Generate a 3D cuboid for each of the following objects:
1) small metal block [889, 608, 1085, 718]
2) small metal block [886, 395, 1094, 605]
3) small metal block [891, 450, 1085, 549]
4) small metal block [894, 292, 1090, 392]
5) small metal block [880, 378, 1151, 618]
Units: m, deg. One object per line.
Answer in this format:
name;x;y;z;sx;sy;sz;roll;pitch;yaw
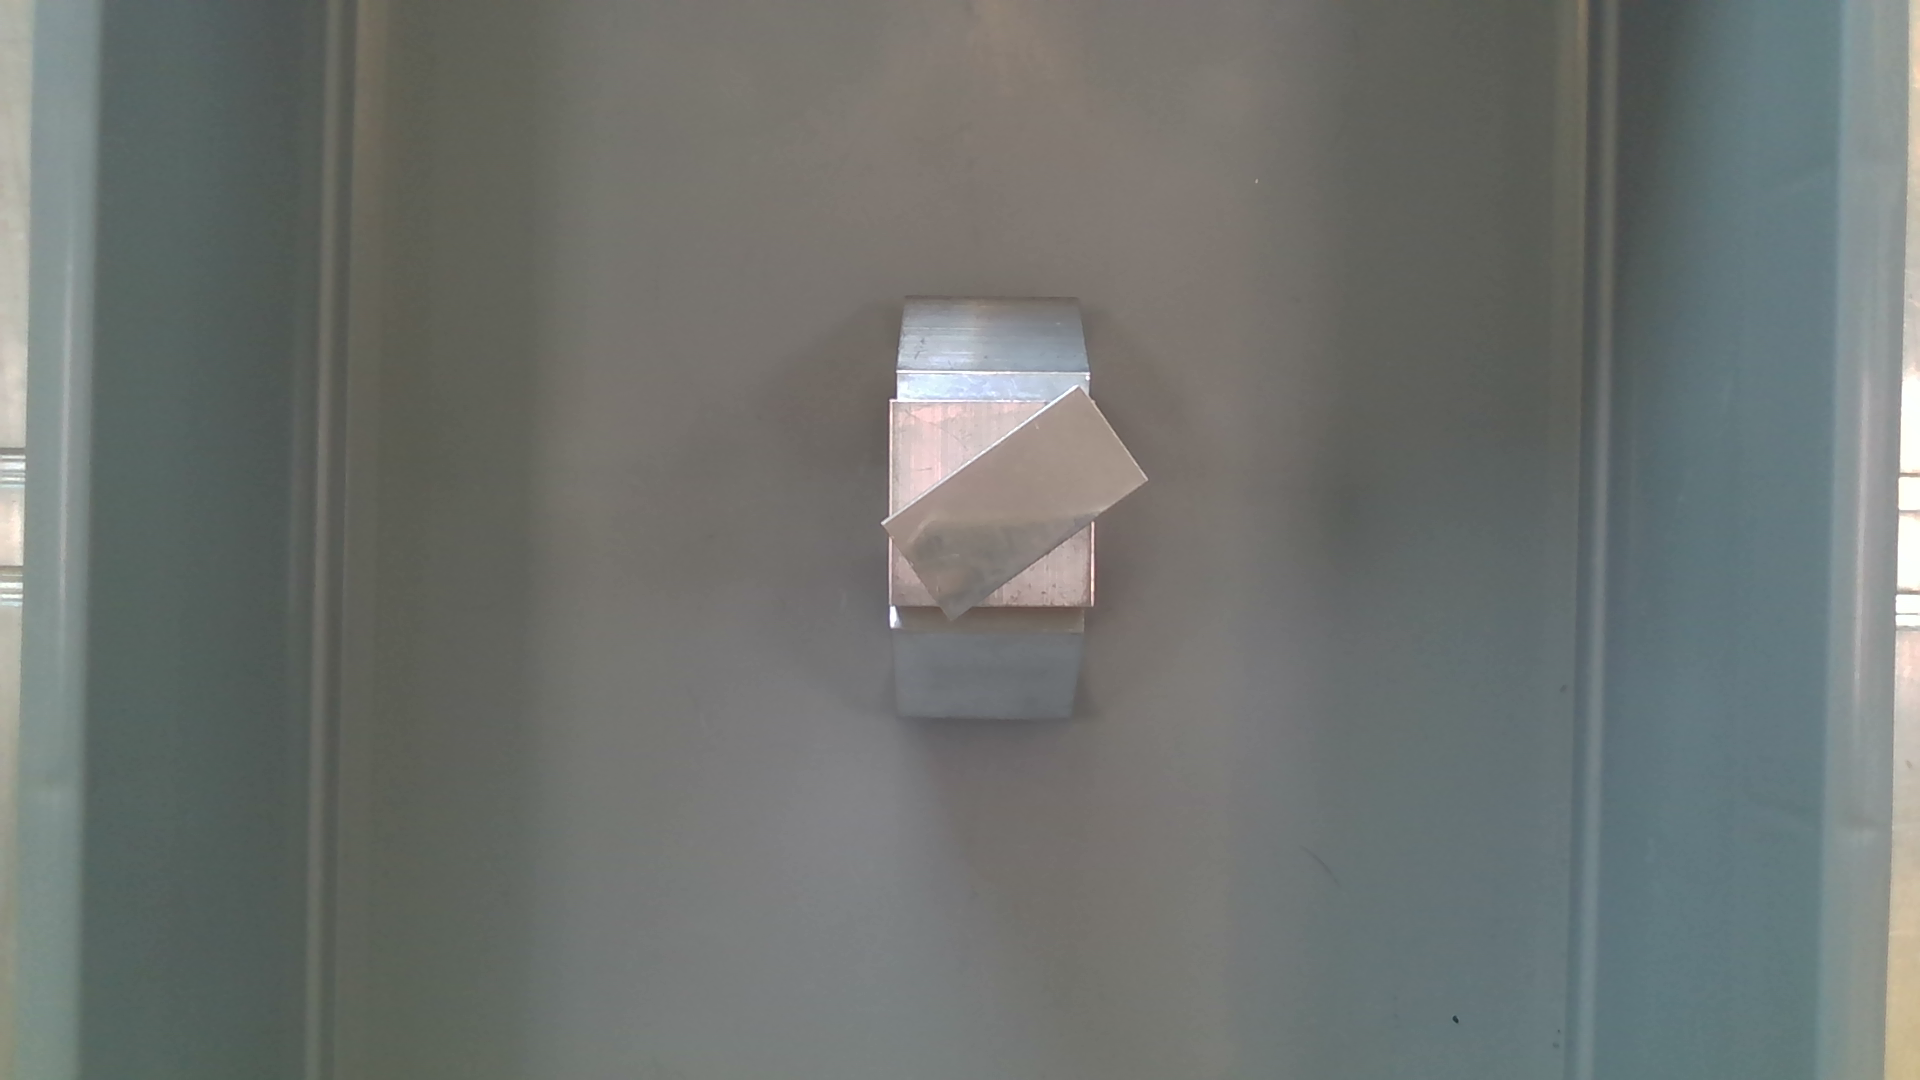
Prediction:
small metal block;0.007;0.026;0.380;0.050;0.050;0.025;1;56;0
small metal block;0.007;-0.010;0.343;0.050;0.025;0.050;1;90;0
small metal block;0.007;-0.010;0.381;0.050;0.050;0.025;1;90;0
small metal block;0.008;-0.046;0.379;0.050;0.050;0.025;1;123;0
small metal block;0.011;-0.008;0.306;0.050;0.050;0.025;-35;89;0
